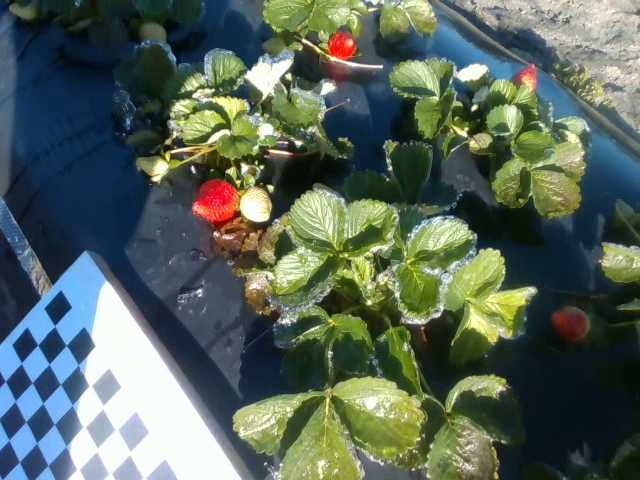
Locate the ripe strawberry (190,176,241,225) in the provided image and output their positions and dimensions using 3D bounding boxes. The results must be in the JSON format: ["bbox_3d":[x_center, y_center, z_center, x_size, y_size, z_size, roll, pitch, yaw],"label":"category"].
[{"bbox_3d":[-0.091,-0.030,0.507,0.040,0.042,0.053,7,18,21],"label":"ripe strawberry"}]
